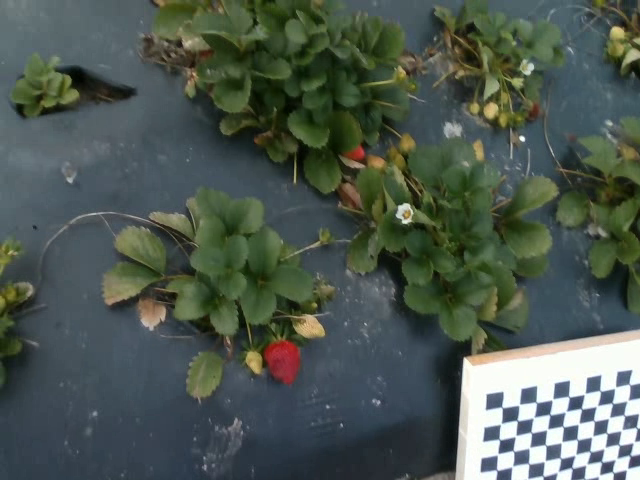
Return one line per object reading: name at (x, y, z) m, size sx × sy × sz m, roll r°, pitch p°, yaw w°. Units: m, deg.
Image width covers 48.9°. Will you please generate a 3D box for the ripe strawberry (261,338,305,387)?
ripe strawberry at (-0.041, 0.145, 0.811) m, size 0.047 × 0.046 × 0.059 m, roll -10°, pitch 44°, yaw -13°
